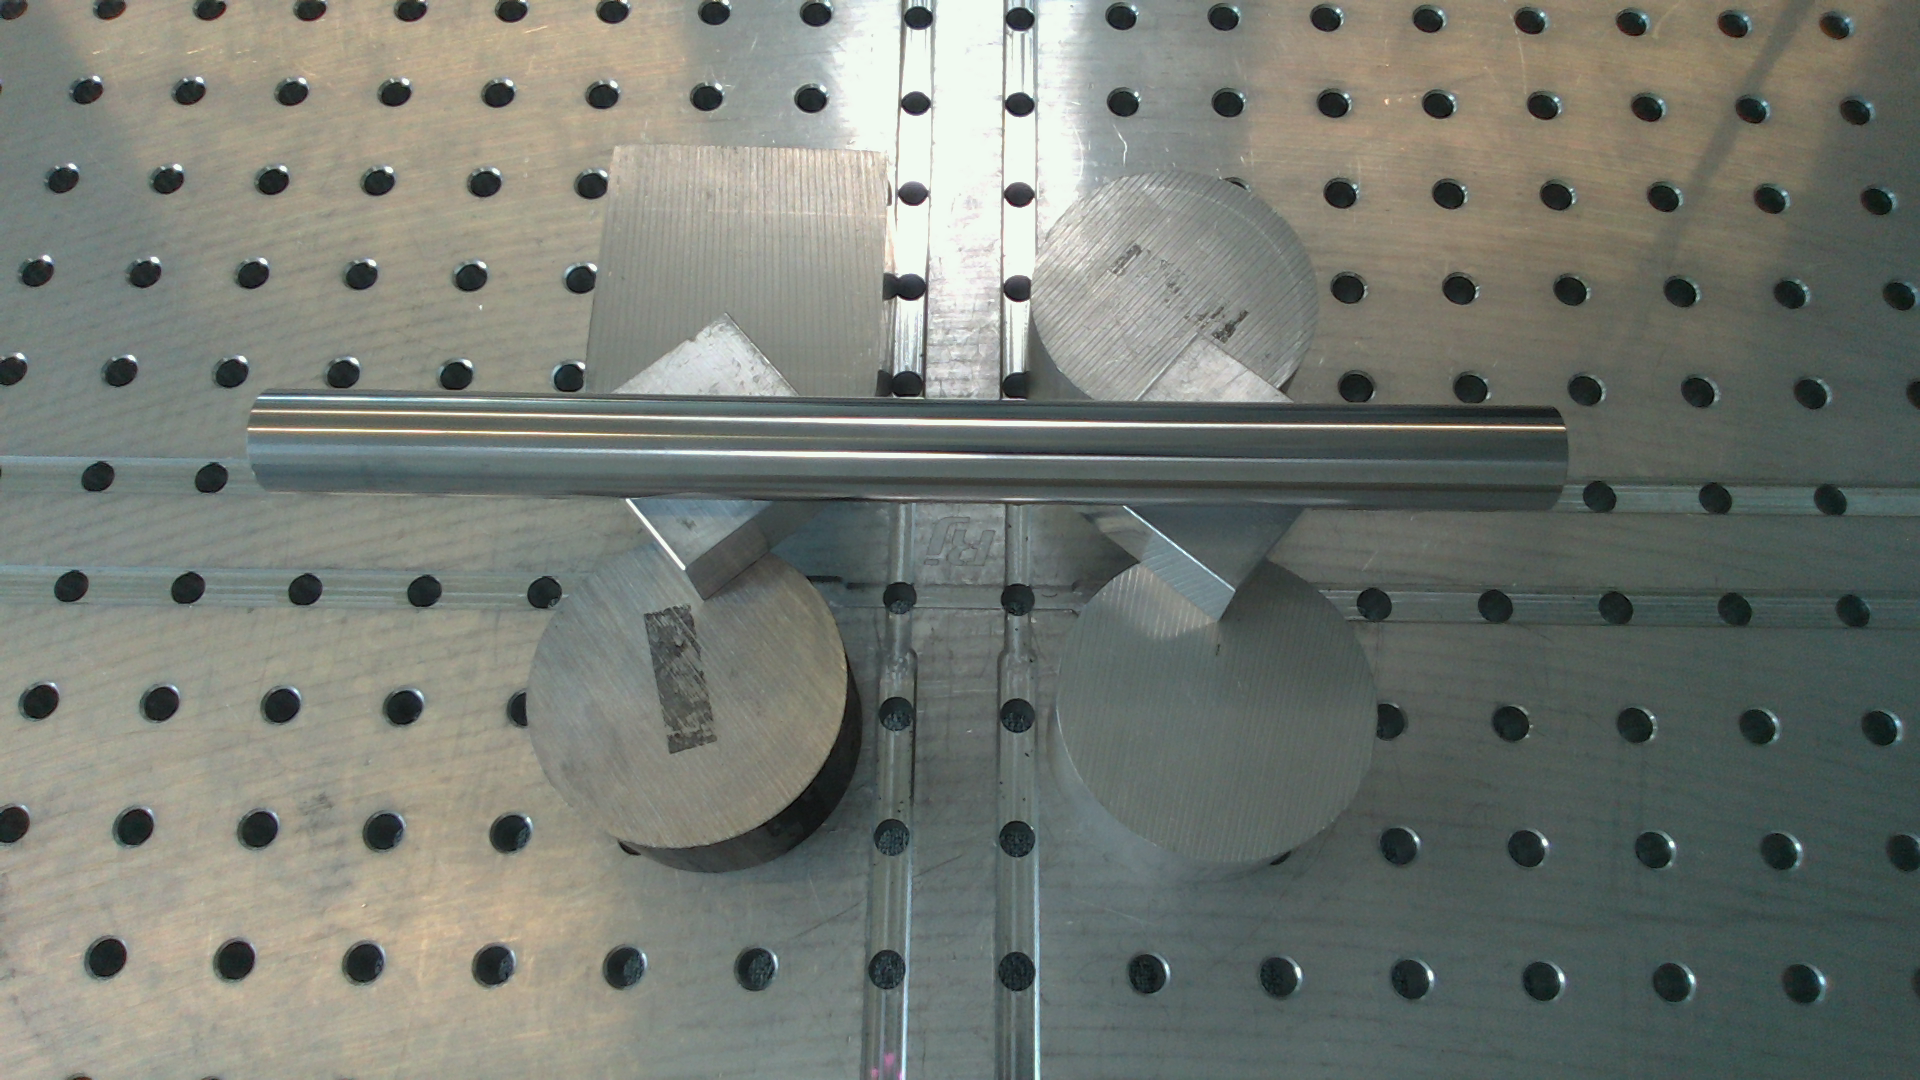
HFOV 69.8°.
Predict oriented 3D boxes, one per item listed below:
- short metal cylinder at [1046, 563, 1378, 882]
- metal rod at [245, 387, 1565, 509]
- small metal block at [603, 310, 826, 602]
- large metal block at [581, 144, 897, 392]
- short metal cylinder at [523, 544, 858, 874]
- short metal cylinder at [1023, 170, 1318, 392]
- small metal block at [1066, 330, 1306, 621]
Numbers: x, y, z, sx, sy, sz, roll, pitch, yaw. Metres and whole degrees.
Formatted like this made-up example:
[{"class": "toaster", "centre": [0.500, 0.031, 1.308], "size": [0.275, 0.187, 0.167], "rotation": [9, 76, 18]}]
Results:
[{"class": "short metal cylinder", "centre": [0.064, 0.049, 0.366], "size": [0.080, 0.050, 0.080], "rotation": [0, 70, 0]}, {"class": "metal rod", "centre": [-0.012, -0.022, 0.325], "size": [0.300, 0.025, 0.025], "rotation": [1, 70, 0]}, {"class": "small metal block", "centre": [-0.064, -0.022, 0.352], "size": [0.050, 0.025, 0.050], "rotation": [-38, 74, -13]}, {"class": "large metal block", "centre": [-0.062, -0.068, 0.408], "size": [0.080, 0.050, 0.080], "rotation": [1, 70, 0]}, {"class": "short metal cylinder", "centre": [-0.069, 0.045, 0.366], "size": [0.080, 0.050, 0.080], "rotation": [0, 70, 0]}, {"class": "short metal cylinder", "centre": [0.060, -0.061, 0.406], "size": [0.080, 0.050, 0.080], "rotation": [0, 70, 0]}, {"class": "small metal block", "centre": [0.063, -0.016, 0.350], "size": [0.050, 0.025, 0.050], "rotation": [39, 74, 13]}]
